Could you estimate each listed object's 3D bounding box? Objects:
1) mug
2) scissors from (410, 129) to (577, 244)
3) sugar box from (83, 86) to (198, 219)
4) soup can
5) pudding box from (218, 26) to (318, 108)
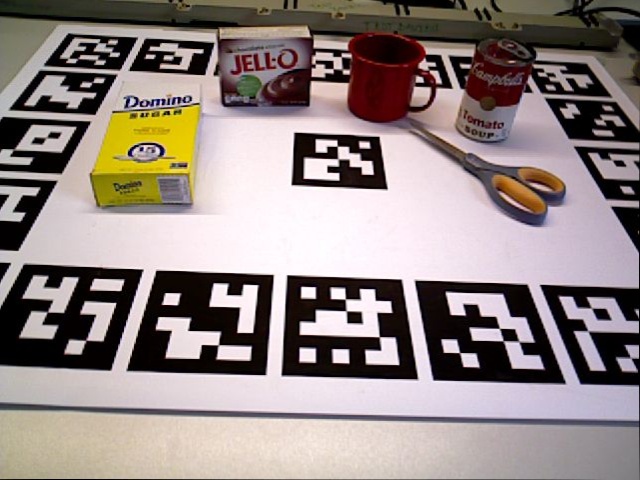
[{"bbox_3d":[0.085,-0.197,0.654,0.091,0.083,0.117,-28,53,-24],"label":"mug"},{"bbox_3d":[0.177,-0.074,0.590,0.086,0.016,0.202,-38,60,-21],"label":"scissors"},{"bbox_3d":[-0.182,-0.099,0.576,0.092,0.046,0.173,-2,49,-3],"label":"sugar box"},{"bbox_3d":[0.201,-0.166,0.630,0.067,0.104,0.067,1,45,-2],"label":"soup can"},{"bbox_3d":[-0.062,-0.207,0.643,0.113,0.092,0.038,-5,54,-9],"label":"pudding box"}]
